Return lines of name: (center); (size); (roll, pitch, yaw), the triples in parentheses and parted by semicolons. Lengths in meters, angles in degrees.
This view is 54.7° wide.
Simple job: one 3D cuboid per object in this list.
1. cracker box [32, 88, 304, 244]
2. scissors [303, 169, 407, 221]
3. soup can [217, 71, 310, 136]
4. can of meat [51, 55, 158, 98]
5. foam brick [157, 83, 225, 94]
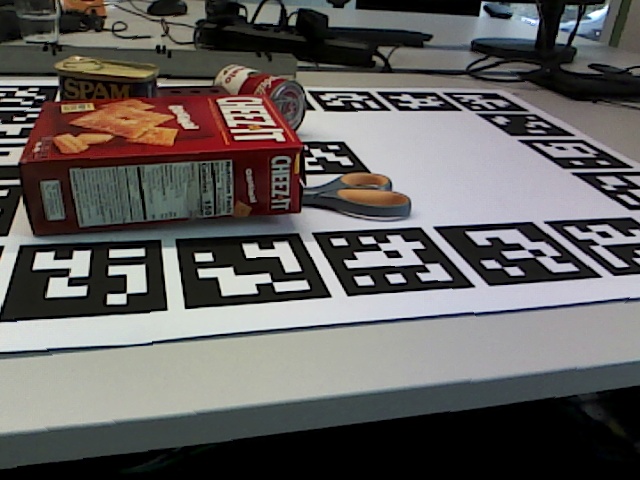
cracker box: (-0.139, -0.079, 0.553); (0.213, 0.072, 0.165); (-9, 33, -18)
scissors: (-0.023, -0.038, 0.571); (0.202, 0.016, 0.088); (-5, 34, -20)
soup can: (-0.073, -0.167, 0.763); (0.103, 0.068, 0.067); (22, 33, 32)
can of meat: (-0.226, -0.145, 0.658); (0.102, 0.083, 0.058); (5, 31, -4)
foam brick: (-0.145, -0.149, 0.719); (0.078, 0.051, 0.053); (-8, 35, -25)
